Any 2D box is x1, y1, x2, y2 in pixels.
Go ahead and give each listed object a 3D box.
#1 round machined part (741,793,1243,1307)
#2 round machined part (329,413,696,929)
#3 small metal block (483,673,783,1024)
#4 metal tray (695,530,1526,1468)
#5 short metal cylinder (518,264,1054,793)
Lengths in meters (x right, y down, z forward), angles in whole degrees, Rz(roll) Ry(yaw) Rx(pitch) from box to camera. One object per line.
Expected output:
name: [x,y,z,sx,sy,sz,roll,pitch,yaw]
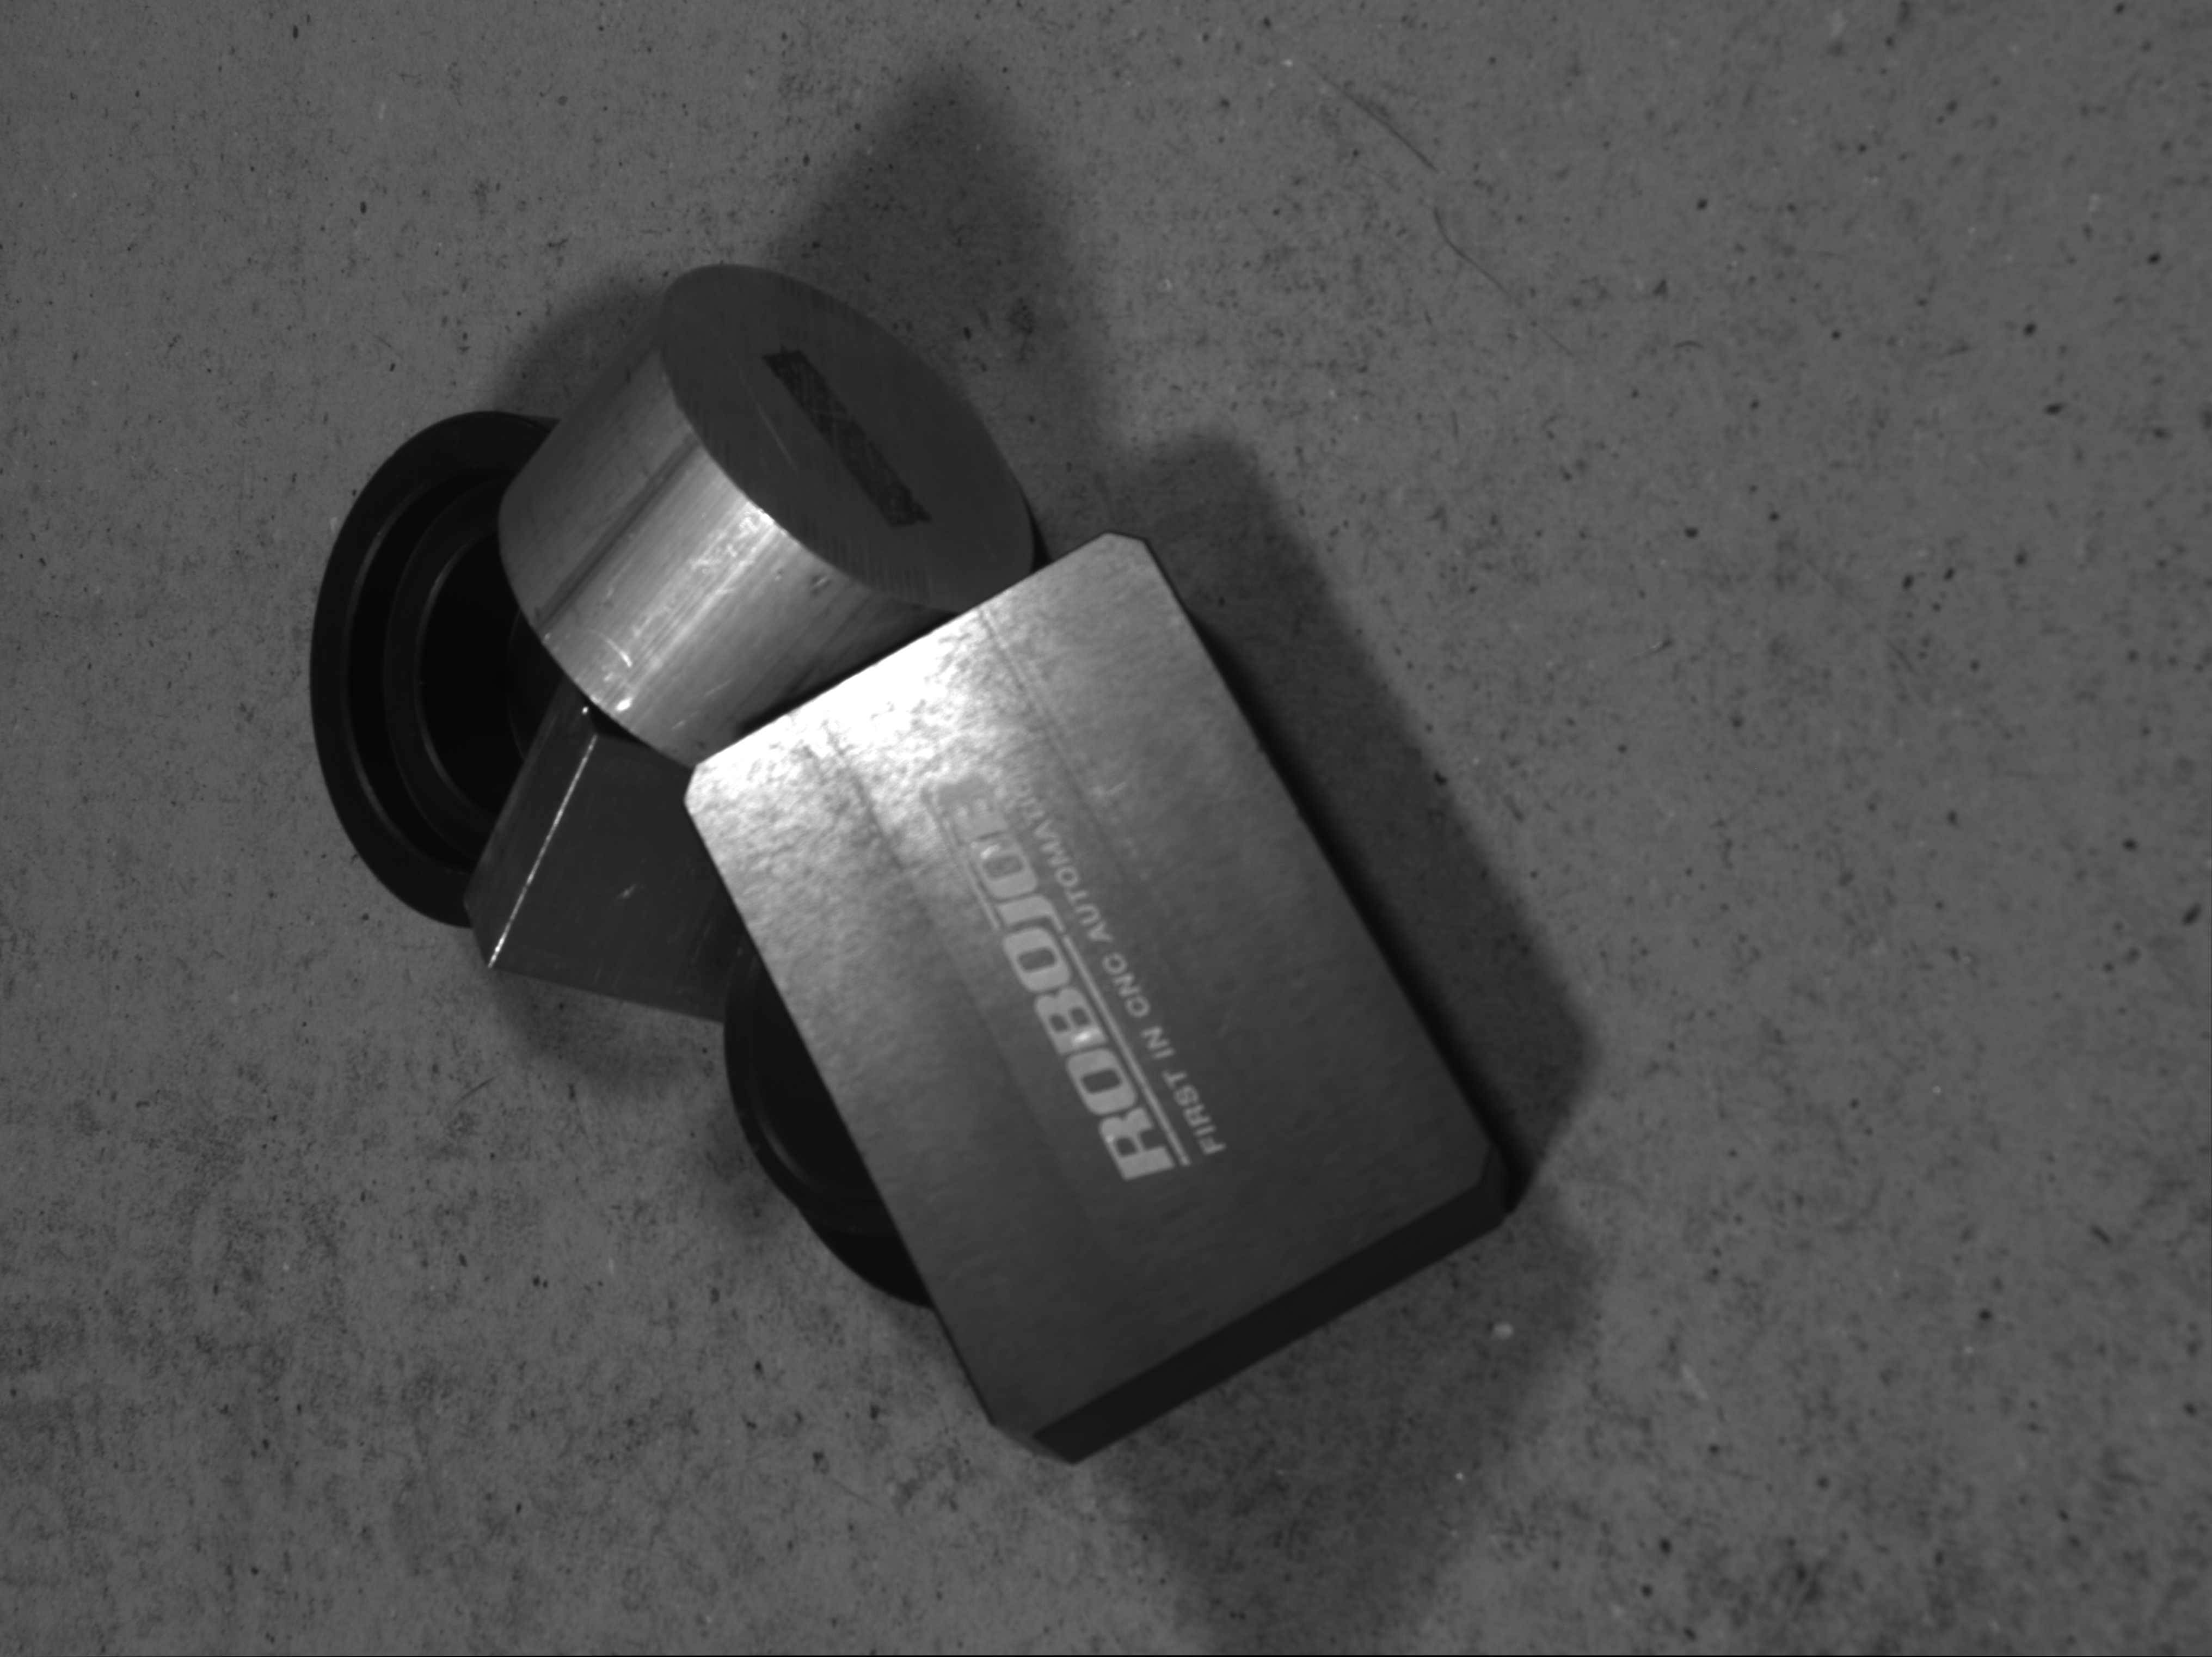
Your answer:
round machined part: [-0.026,0.037,0.647,0.098,0.042,0.098,0,90,39]
round machined part: [-0.103,-0.030,0.710,0.098,0.042,0.098,0,90,39]
small metal block: [-0.078,0.004,0.661,0.050,0.050,0.025,-63,31,20]
metal tray: [0.000,0.027,0.605,0.090,0.030,0.130,-29,68,2]
short metal cylinder: [-0.056,-0.053,0.648,0.050,0.080,0.080,-45,63,30]
